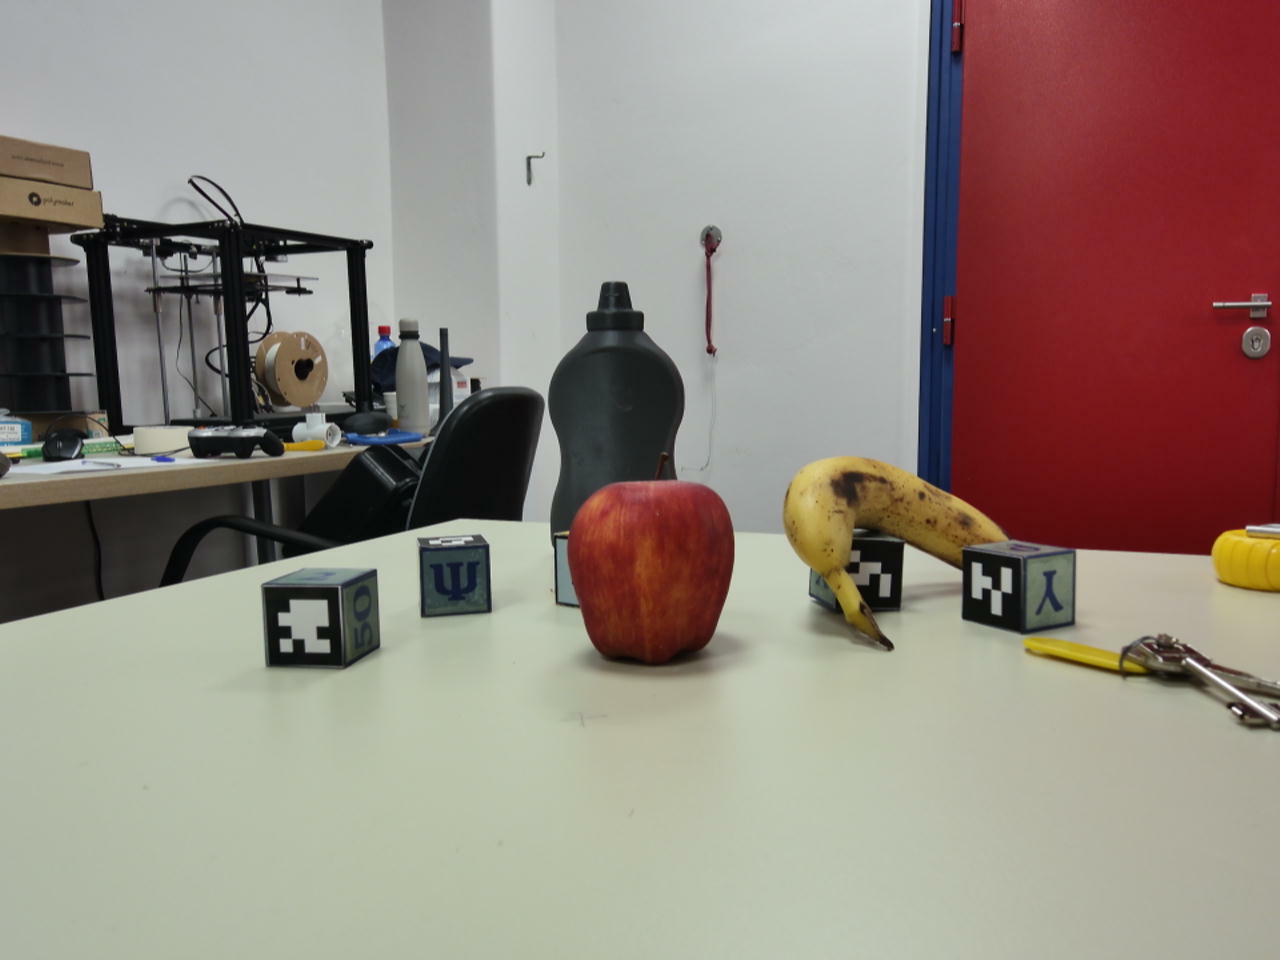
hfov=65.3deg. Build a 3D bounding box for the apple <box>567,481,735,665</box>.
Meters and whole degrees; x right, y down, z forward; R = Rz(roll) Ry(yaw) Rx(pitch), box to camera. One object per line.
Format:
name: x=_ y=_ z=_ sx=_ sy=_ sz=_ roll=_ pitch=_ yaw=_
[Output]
apple: x=0.005 y=0.033 z=0.452 sx=0.083 sy=0.090 sz=0.083 roll=-1 pitch=3 yaw=0
